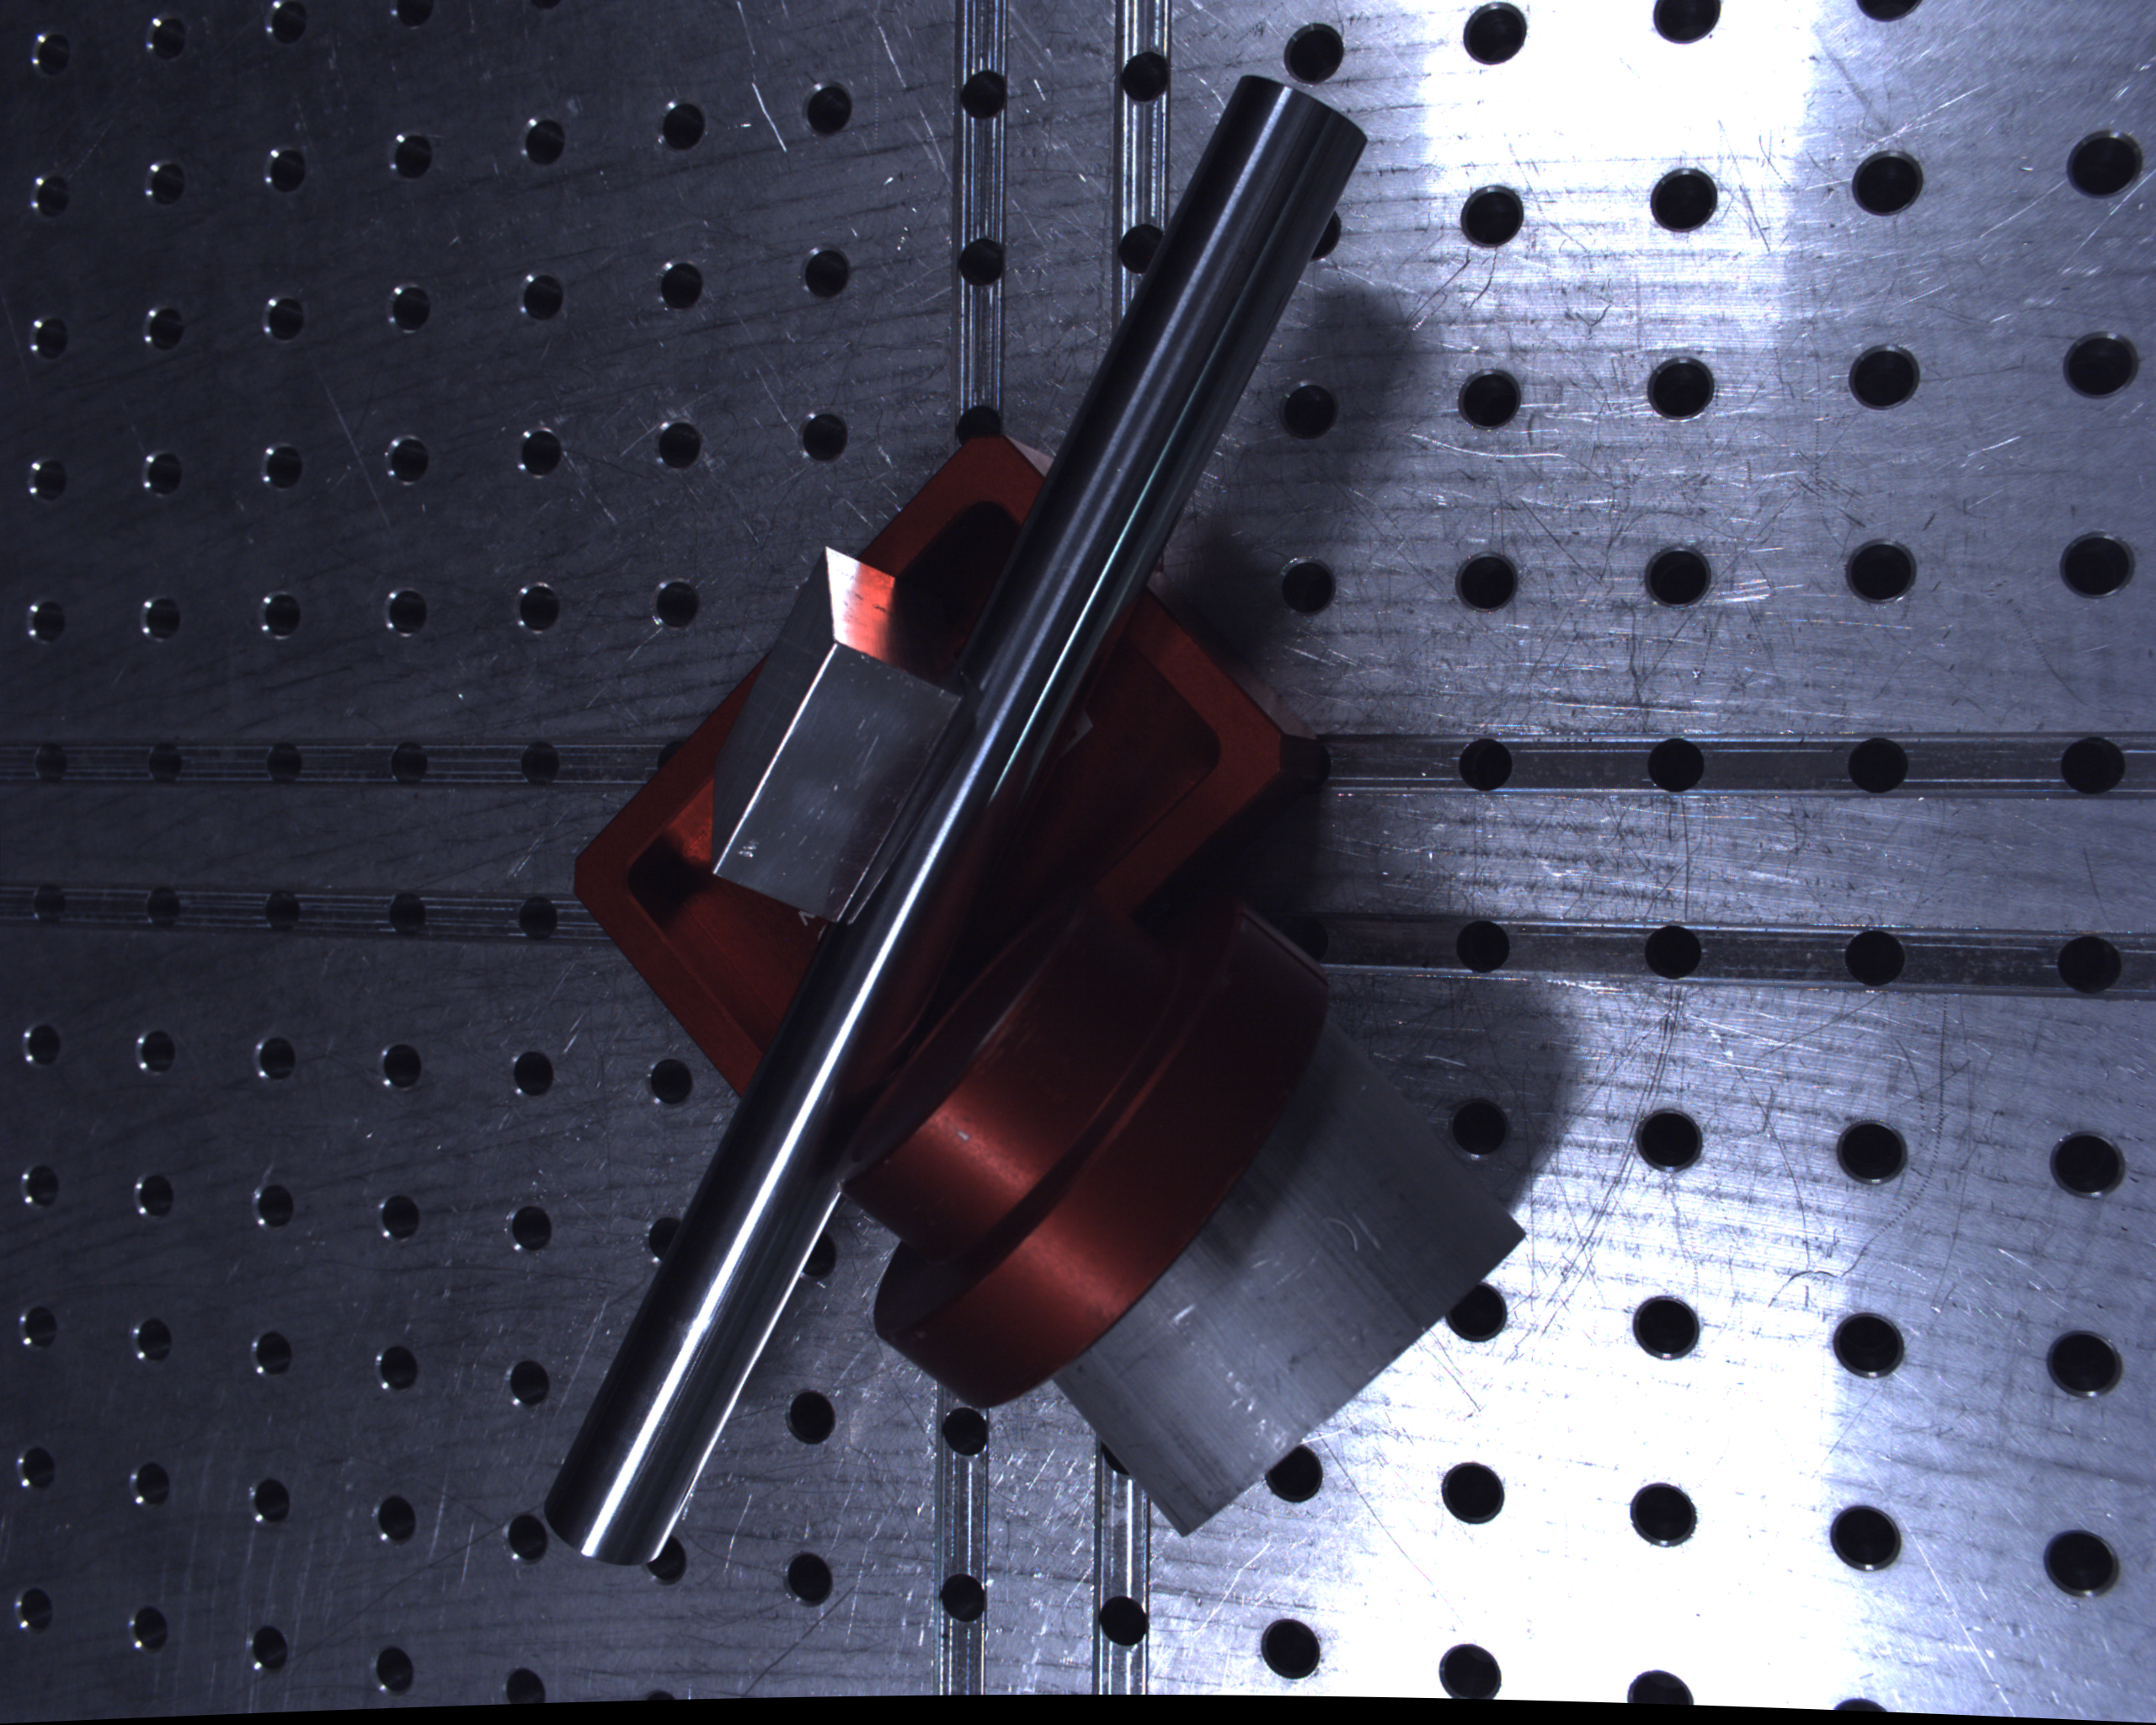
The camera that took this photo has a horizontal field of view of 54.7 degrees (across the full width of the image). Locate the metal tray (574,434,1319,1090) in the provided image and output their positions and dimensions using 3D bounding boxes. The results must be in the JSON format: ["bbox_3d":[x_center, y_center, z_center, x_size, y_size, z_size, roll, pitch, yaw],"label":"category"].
[{"bbox_3d":[-0.028,-0.009,0.418,0.130,0.030,0.090,-45,77,14],"label":"metal tray"}]

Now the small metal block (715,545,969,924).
[{"bbox_3d":[-0.046,-0.025,0.391,0.025,0.050,0.050,23,112,-20],"label":"small metal block"}]

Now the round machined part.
[{"bbox_3d":[-0.005,0.043,0.364,0.042,0.098,0.098,41,103,-7],"label":"round machined part"}]

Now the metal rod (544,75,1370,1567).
[{"bbox_3d":[-0.027,0.000,0.389,0.025,0.025,0.298,30,99,17],"label":"metal rod"}]

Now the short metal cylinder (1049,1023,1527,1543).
[{"bbox_3d":[0.032,0.074,0.370,0.080,0.080,0.050,-45,76,14],"label":"short metal cylinder"}]
